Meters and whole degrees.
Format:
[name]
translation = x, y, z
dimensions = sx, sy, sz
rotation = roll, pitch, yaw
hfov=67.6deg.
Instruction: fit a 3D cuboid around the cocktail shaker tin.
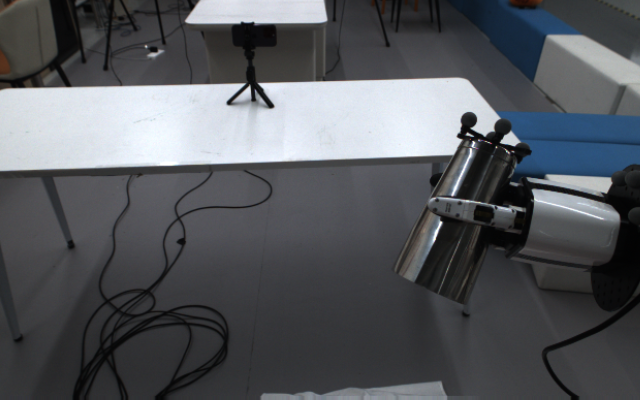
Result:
[cocktail shaker tin]
translation = 0.160, 0.018, 0.550
dimensions = 0.093, 0.170, 0.093
rotation = 23, 0, 0
